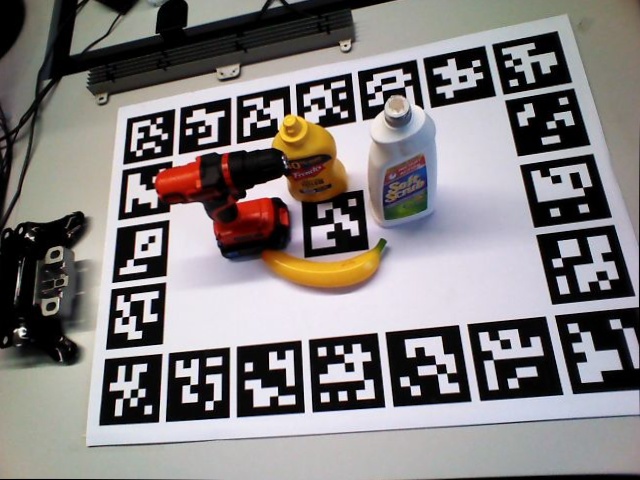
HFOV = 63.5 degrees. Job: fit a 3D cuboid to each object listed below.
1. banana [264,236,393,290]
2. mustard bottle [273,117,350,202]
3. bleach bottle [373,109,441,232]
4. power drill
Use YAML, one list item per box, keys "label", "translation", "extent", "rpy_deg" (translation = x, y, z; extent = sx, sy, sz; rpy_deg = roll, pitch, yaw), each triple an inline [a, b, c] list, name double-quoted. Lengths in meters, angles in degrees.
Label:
- label: "banana"
  translation: [0.012, 0.038, 0.765]
  extent: [0.198, 0.039, 0.074]
  rpy_deg: [-5, 74, 14]
- label: "mustard bottle"
  translation: [-0.017, -0.119, 0.747]
  extent: [0.096, 0.191, 0.058]
  rpy_deg: [-7, 69, 10]
- label: "bleach bottle"
  translation: [0.109, -0.089, 0.683]
  extent: [0.103, 0.251, 0.067]
  rpy_deg: [-15, 69, 8]
- label: "power drill"
  translation: [-0.117, -0.056, 0.729]
  extent: [0.185, 0.187, 0.057]
  rpy_deg: [-10, 62, 7]
